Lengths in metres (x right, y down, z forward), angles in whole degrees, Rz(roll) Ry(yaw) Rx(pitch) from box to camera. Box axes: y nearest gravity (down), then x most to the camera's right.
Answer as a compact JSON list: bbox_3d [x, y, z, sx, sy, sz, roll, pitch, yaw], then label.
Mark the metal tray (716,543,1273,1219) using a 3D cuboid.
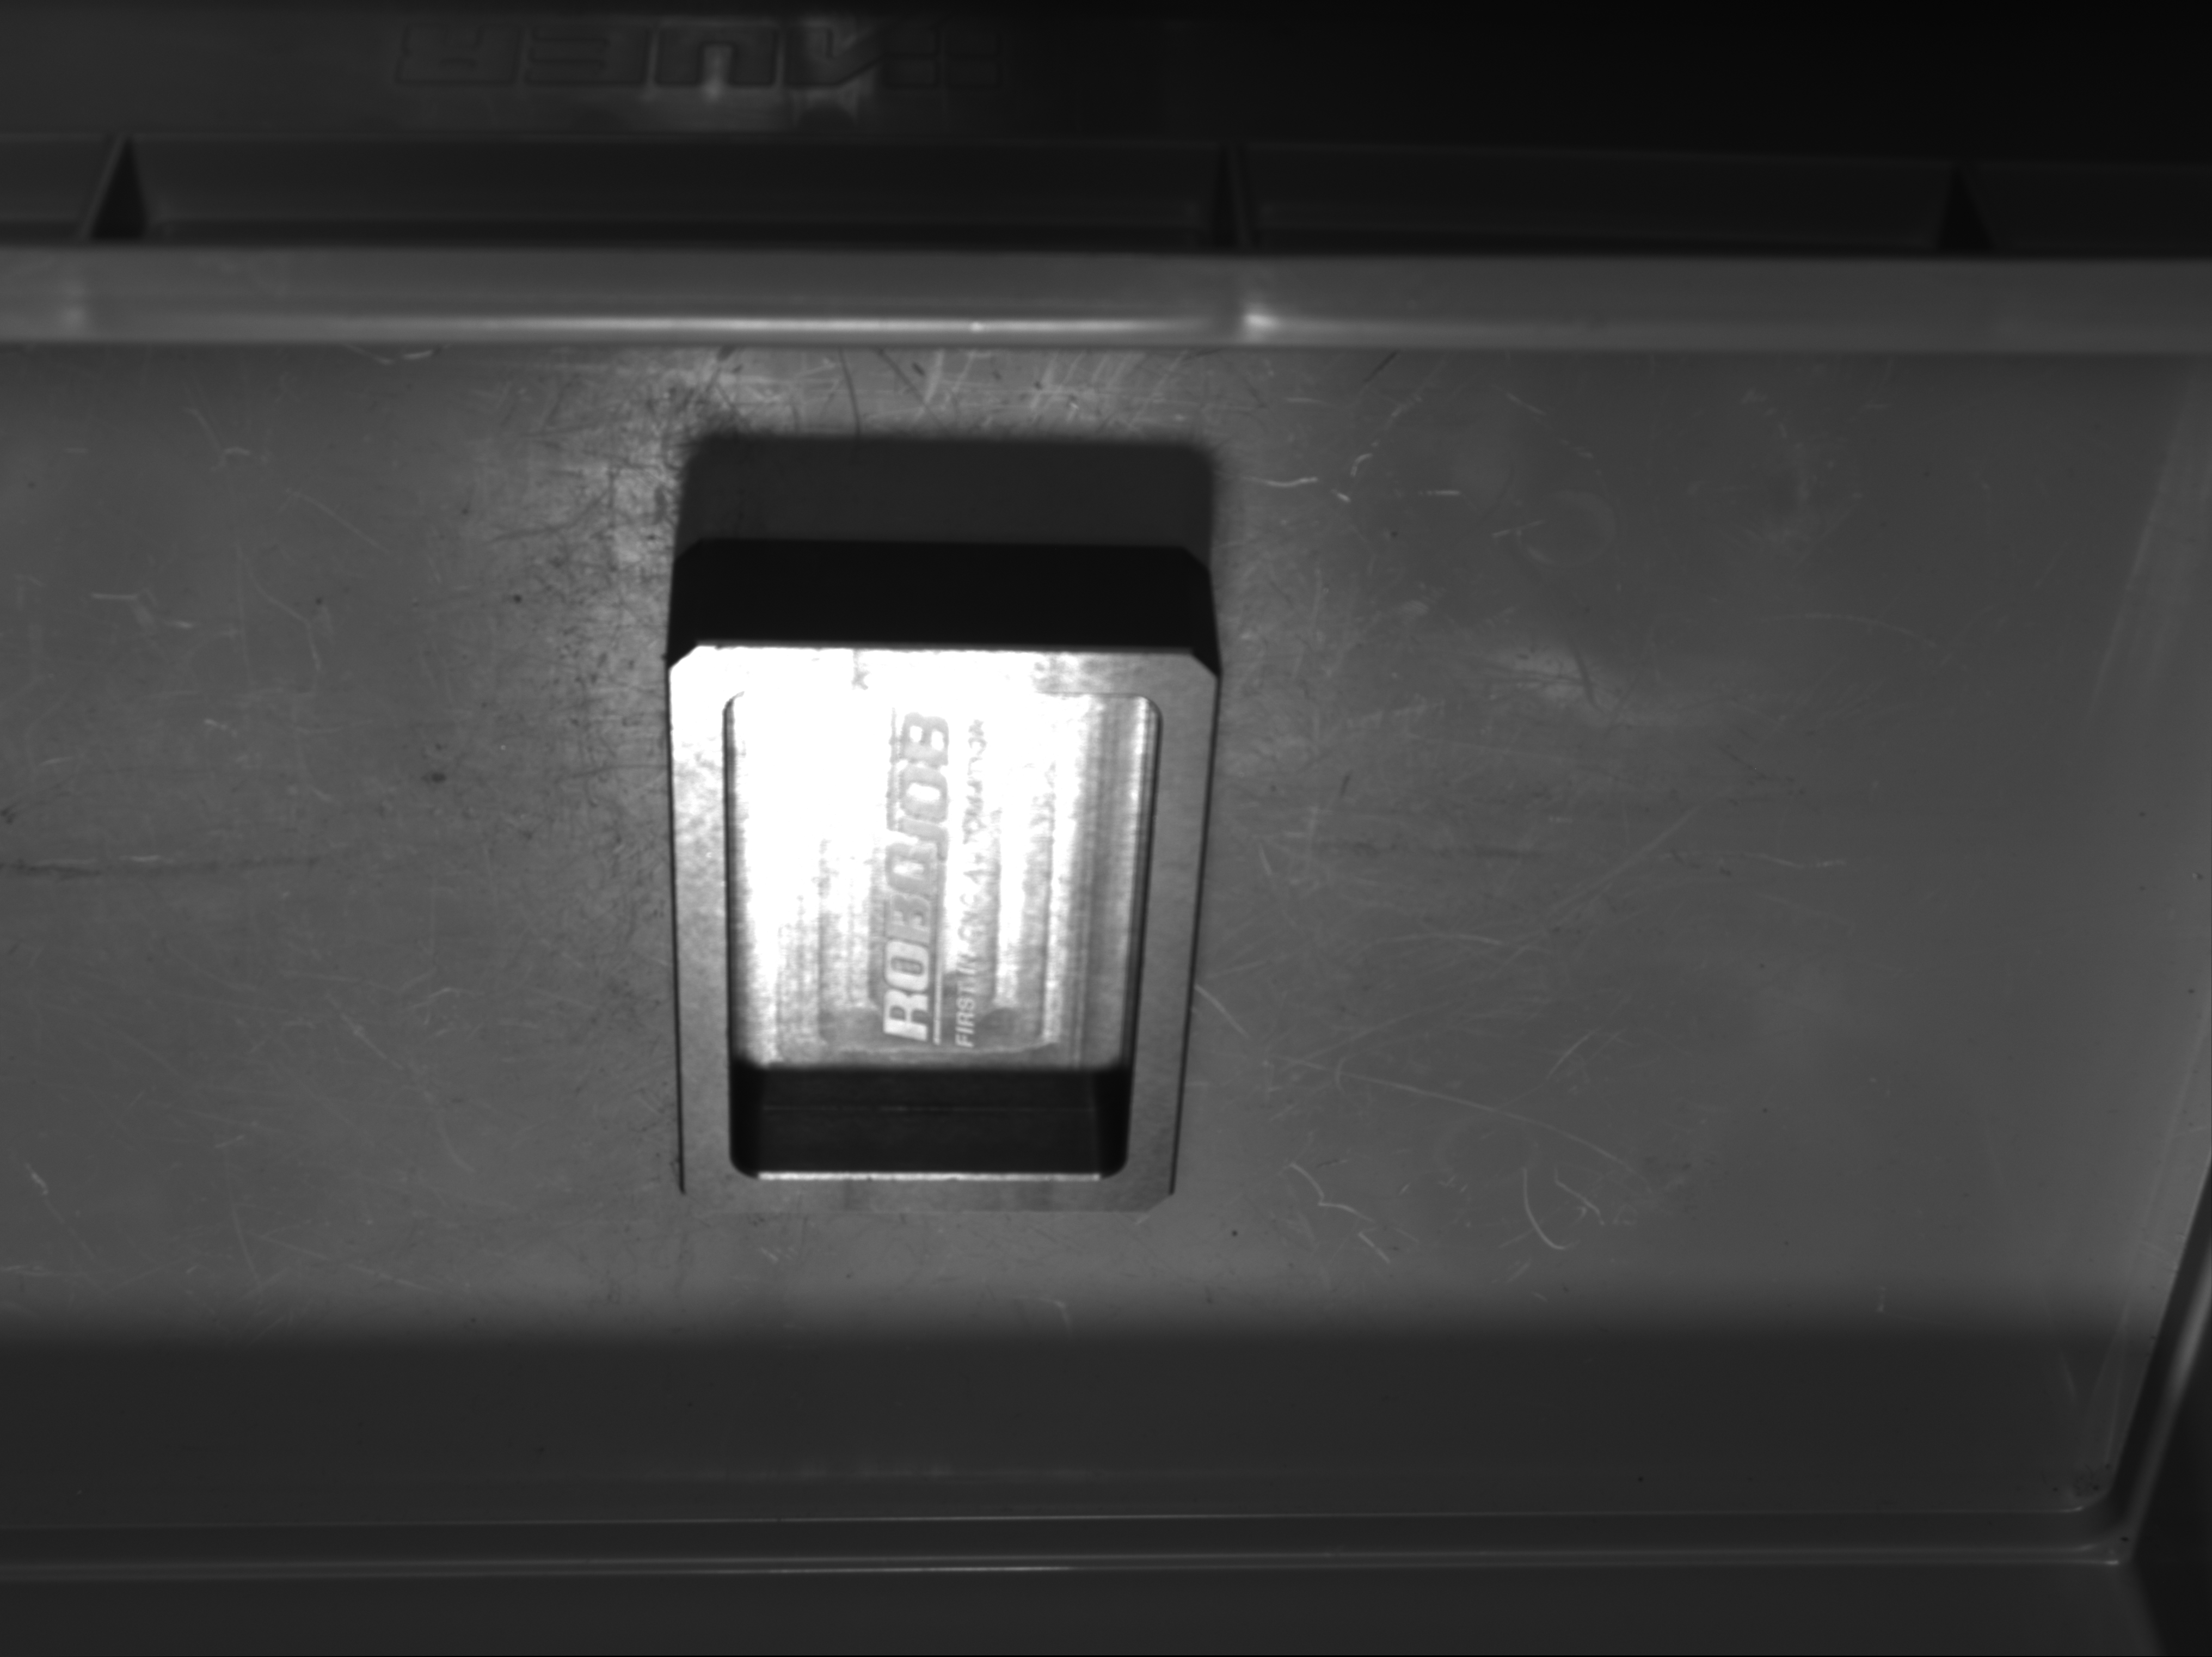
[{"bbox_3d":[-0.021,0.012,0.641,0.090,0.030,0.130,1,130,-3],"label":"metal tray"}]
